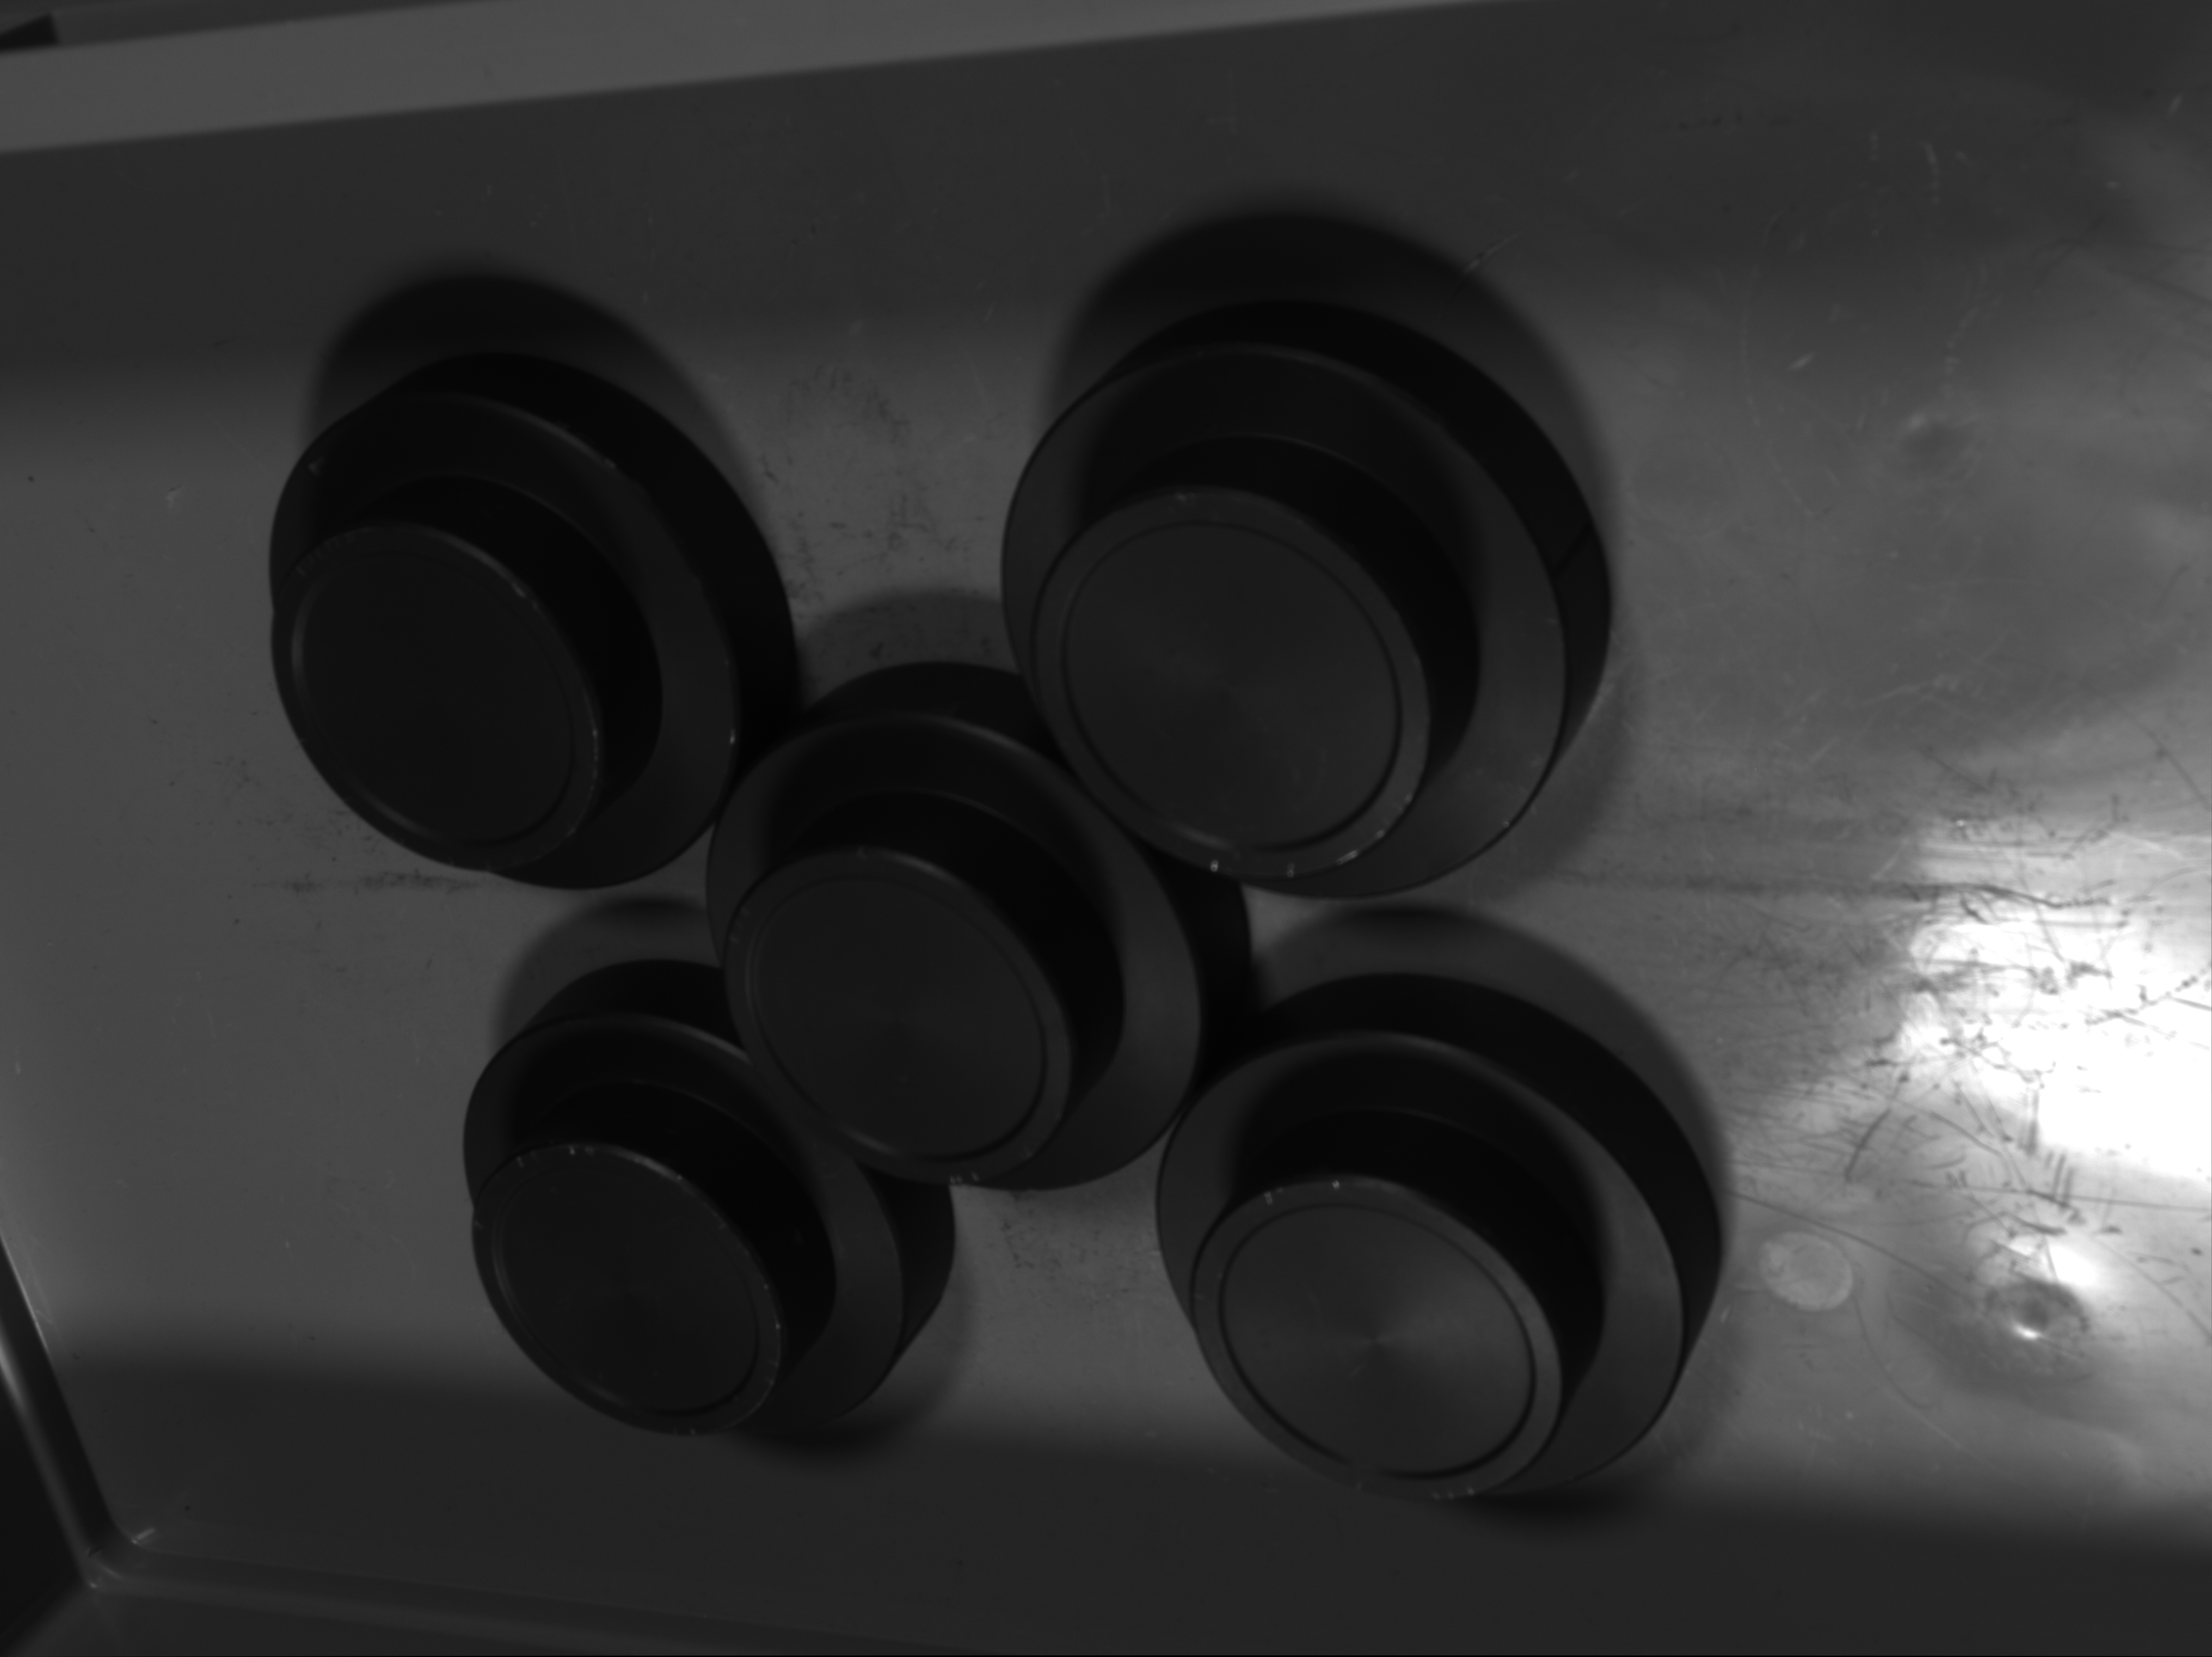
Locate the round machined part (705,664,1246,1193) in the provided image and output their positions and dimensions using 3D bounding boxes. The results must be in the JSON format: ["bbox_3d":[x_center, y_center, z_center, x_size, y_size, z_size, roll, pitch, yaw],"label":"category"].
[{"bbox_3d":[-0.028,0.024,0.647,0.098,0.042,0.098,12,123,20],"label":"round machined part"}]

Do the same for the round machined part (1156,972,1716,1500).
[{"bbox_3d":[0.053,0.078,0.639,0.098,0.042,0.098,12,123,20],"label":"round machined part"}]

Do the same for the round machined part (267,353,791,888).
[{"bbox_3d":[-0.109,-0.032,0.655,0.098,0.042,0.098,12,123,20],"label":"round machined part"}]

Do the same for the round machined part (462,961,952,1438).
[{"bbox_3d":[-0.083,0.078,0.707,0.098,0.042,0.098,12,123,20],"label":"round machined part"}]

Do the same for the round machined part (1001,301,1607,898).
[{"bbox_3d":[0.027,-0.031,0.587,0.098,0.042,0.098,12,123,20],"label":"round machined part"}]
